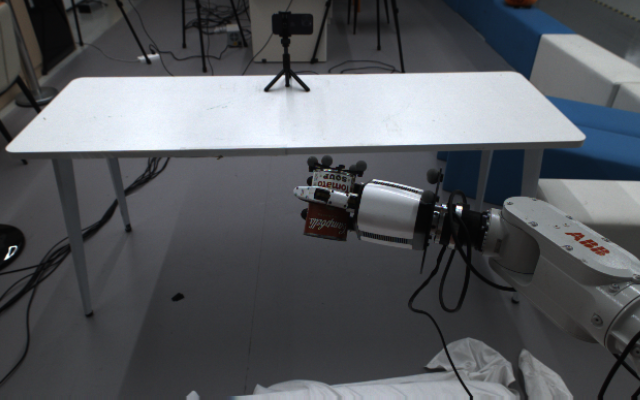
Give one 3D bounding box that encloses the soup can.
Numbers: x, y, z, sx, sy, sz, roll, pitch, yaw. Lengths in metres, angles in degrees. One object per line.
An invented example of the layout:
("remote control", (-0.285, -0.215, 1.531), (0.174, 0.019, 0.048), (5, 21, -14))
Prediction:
("soup can", (0.015, 0.009, 0.742), (0.067, 0.101, 0.067), (9, -6, 1))
